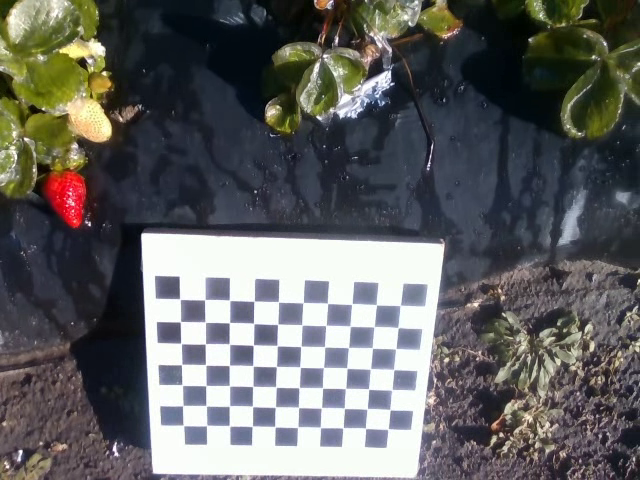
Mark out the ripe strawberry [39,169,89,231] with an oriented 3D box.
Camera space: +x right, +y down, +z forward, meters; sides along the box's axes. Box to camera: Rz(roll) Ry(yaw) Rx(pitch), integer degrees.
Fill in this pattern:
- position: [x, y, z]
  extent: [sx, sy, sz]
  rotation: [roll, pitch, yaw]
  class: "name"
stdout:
- position: [-0.229, -0.033, 0.540]
  extent: [0.041, 0.052, 0.040]
  rotation: [-15, 11, 1]
  class: "ripe strawberry"
